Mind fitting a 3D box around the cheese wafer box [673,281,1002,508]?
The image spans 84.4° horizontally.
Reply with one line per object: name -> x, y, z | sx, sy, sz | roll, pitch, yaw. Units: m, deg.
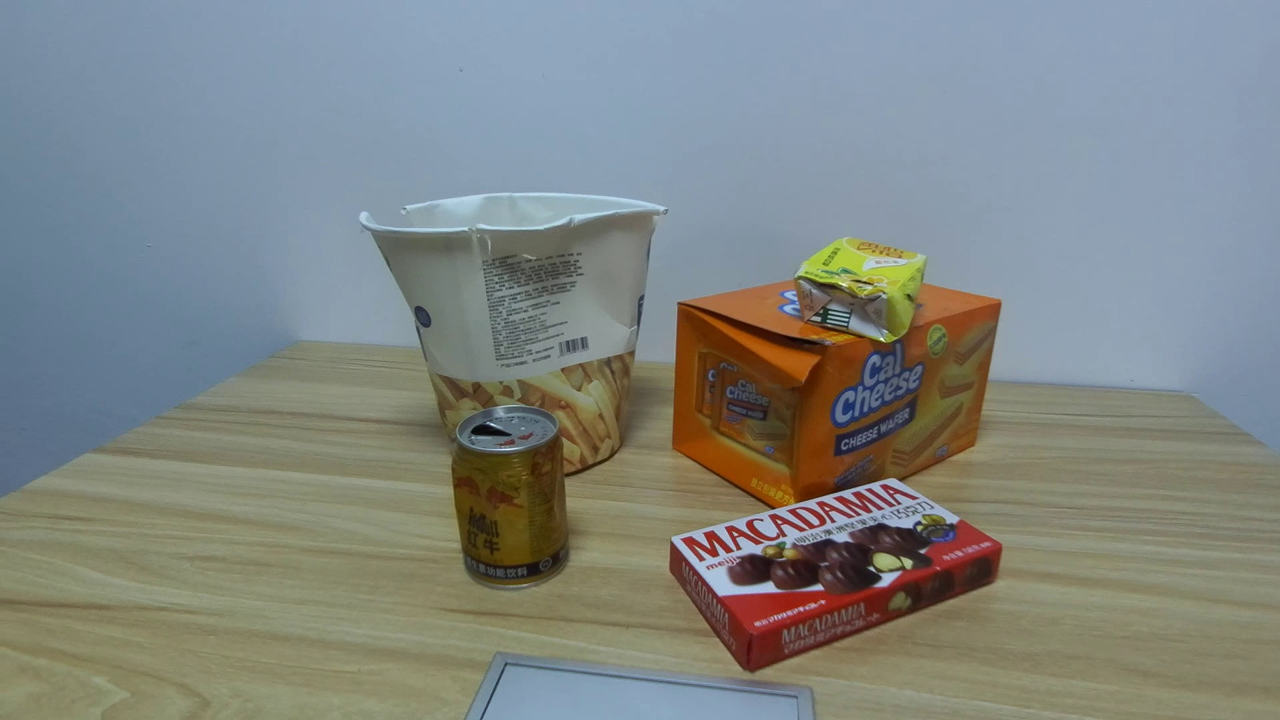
cheese wafer box -> 0.155, 0.011, 0.567 | 0.228, 0.137, 0.149 | -13, 25, -33

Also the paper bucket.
paper bucket -> -0.091, -0.026, 0.566 | 0.145, 0.197, 0.203 | 16, 25, 39

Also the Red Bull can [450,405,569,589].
Red Bull can -> -0.077, 0.082, 0.431 | 0.068, 0.093, 0.068 | 0, 19, 0

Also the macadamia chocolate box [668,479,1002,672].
macadamia chocolate box -> 0.116, 0.120, 0.425 | 0.178, 0.027, 0.095 | -9, 21, -23

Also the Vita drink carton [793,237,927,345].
Vita drink carton -> 0.159, -0.050, 0.501 | 0.086, 0.042, 0.108 | 21, 31, 27
